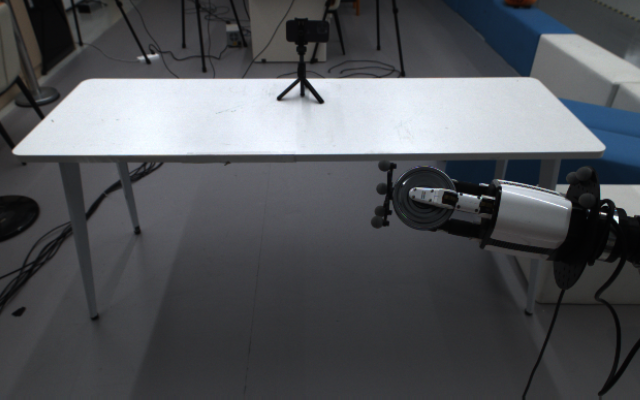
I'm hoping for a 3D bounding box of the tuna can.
[{"bbox_3d":[0.143,-0.006,0.656,0.085,0.085,0.034,9,-7,10],"label":"tuna can"}]
